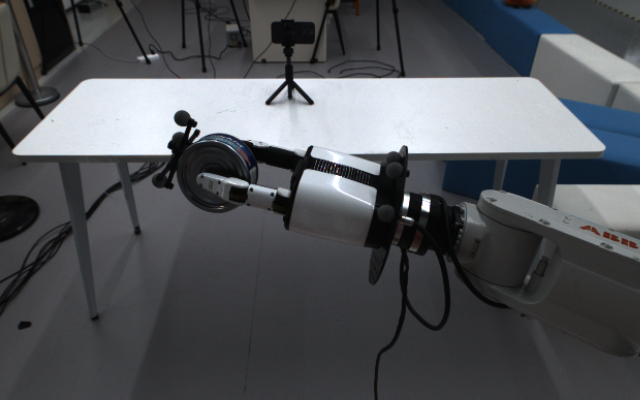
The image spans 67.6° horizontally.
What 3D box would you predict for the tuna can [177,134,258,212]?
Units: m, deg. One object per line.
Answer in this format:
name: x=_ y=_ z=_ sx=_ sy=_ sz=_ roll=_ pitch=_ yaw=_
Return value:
tuna can: x=-0.110 y=-0.024 z=0.540 sx=0.085 sy=0.085 sz=0.034 roll=6 pitch=20 yaw=5
